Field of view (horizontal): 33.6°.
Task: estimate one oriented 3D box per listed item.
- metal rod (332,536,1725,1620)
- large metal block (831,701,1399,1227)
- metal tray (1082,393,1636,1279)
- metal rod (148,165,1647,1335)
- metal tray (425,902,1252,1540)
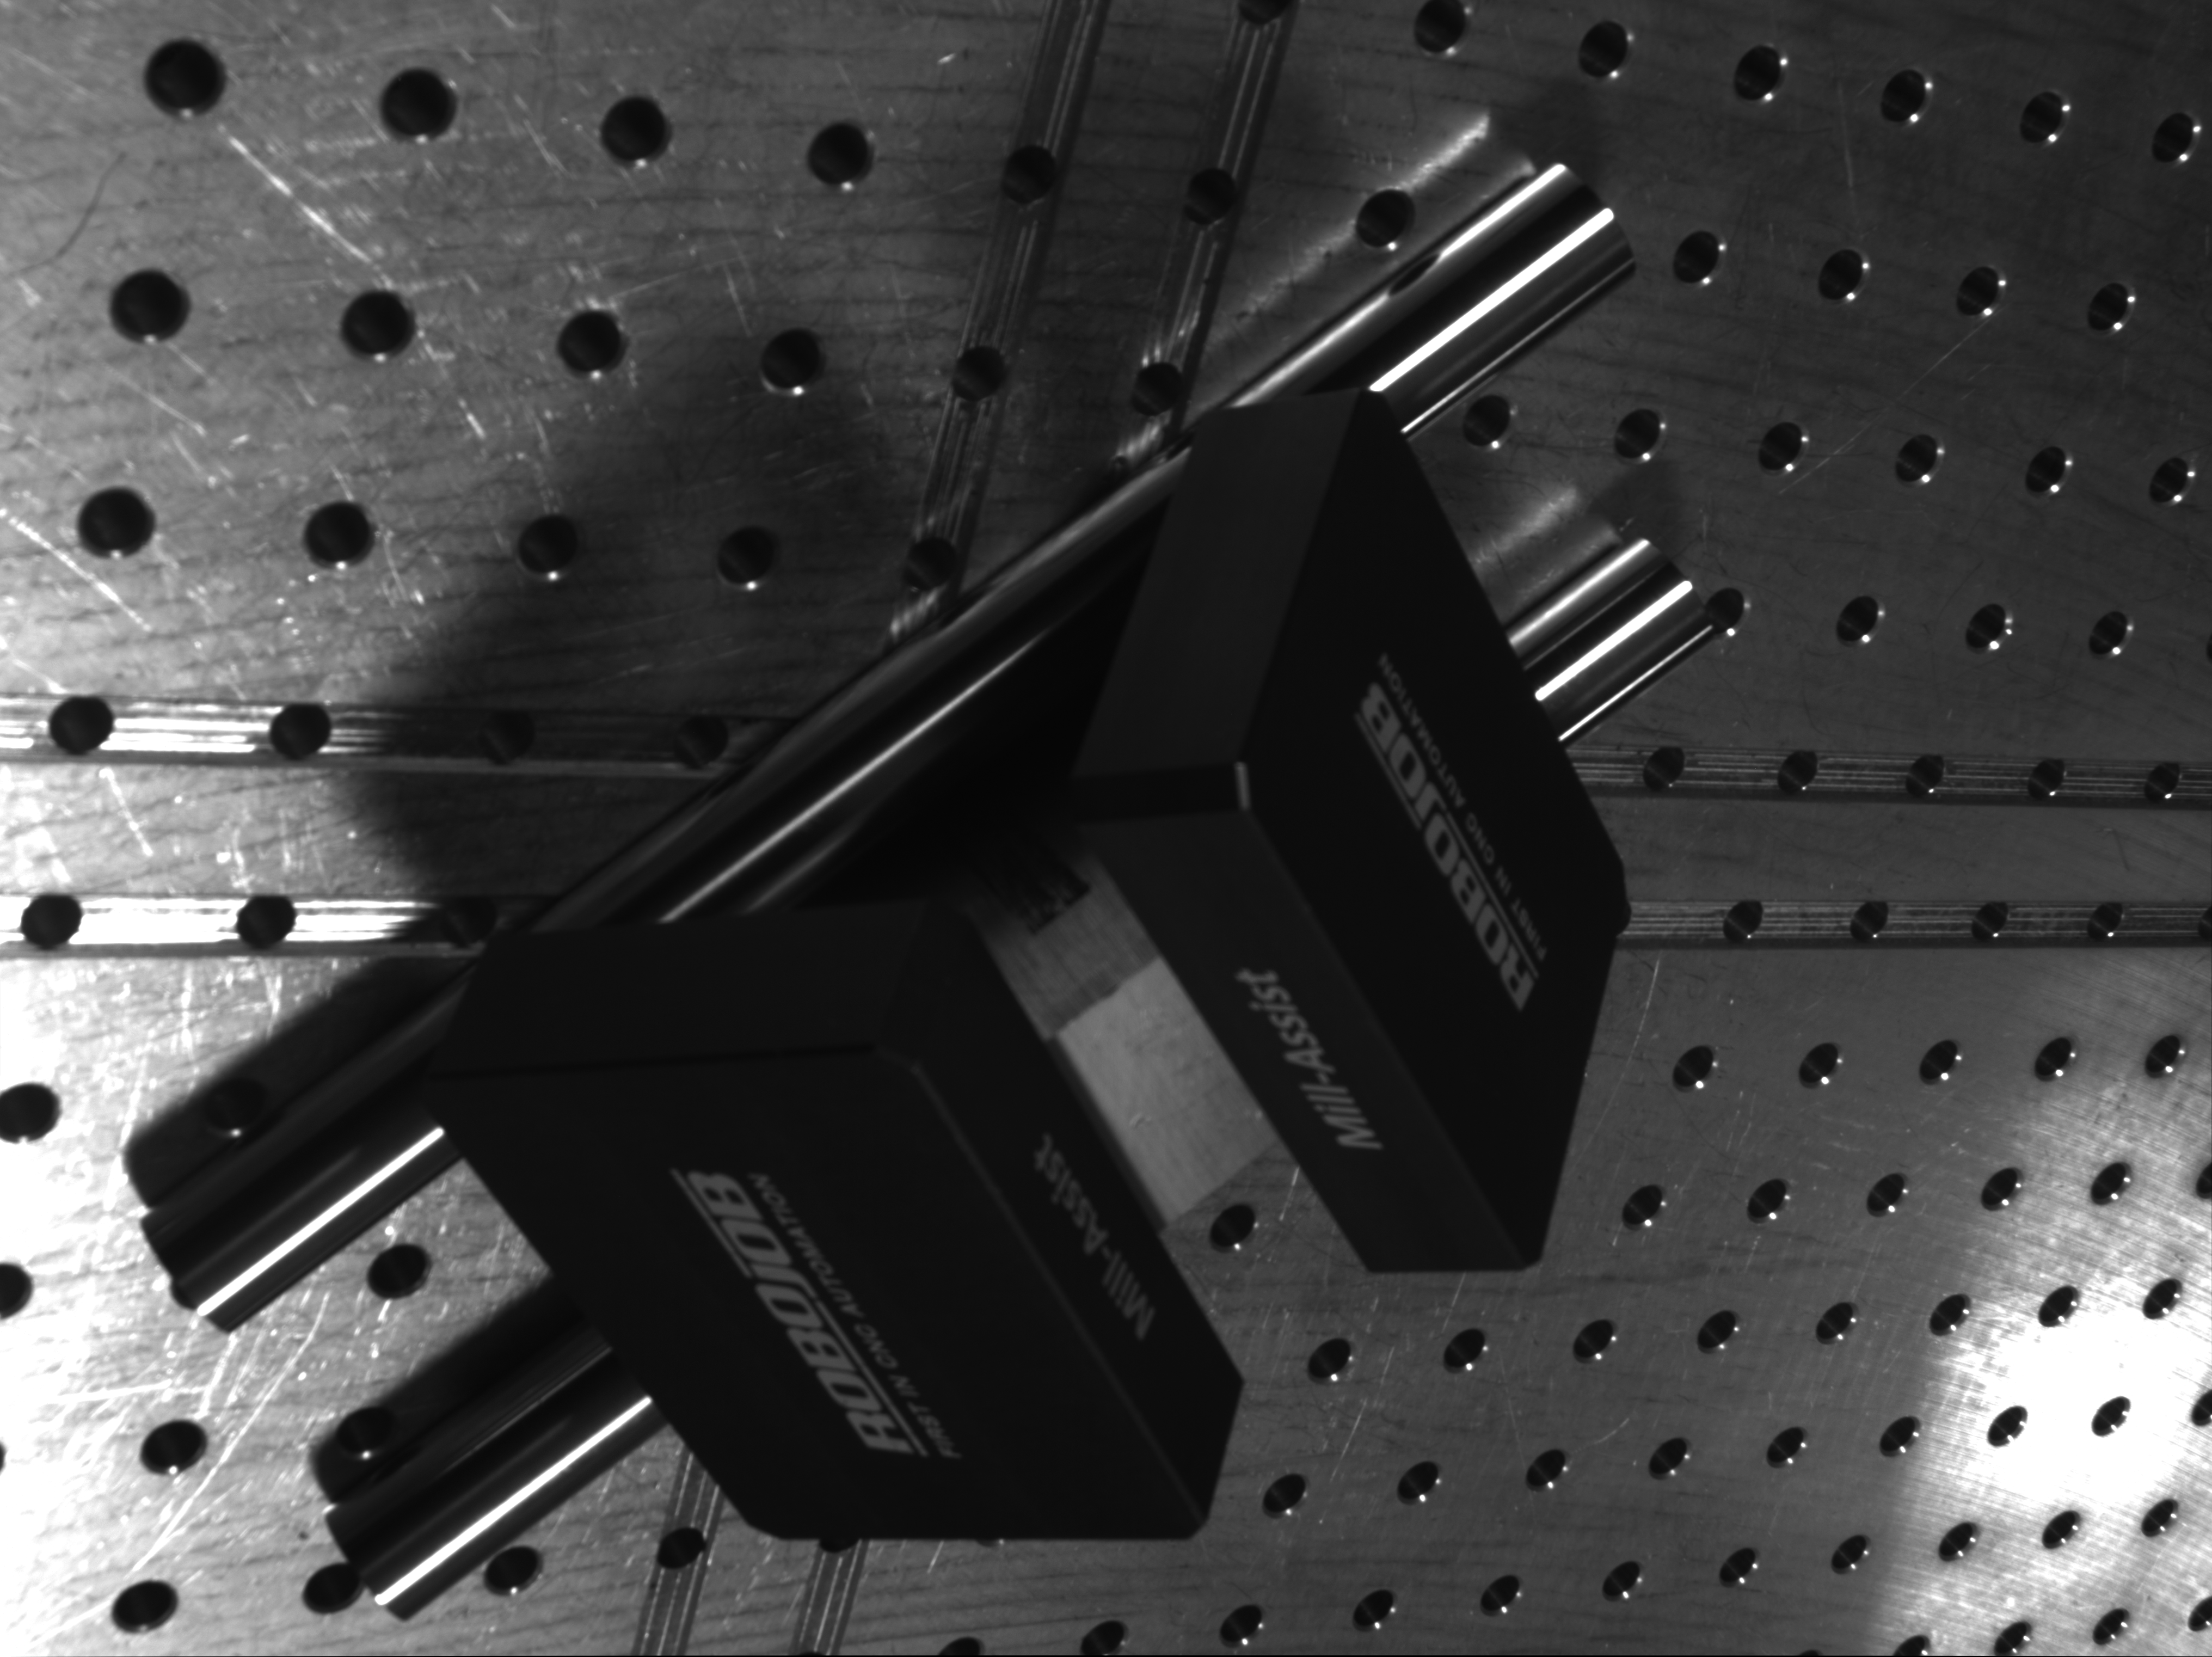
[{"bbox_3d":[-0.012,0.044,0.674,0.300,0.025,0.025,-36,130,-6],"label":"metal rod"},{"bbox_3d":[-0.003,0.022,0.629,0.080,0.080,0.050,-36,130,-6],"label":"large metal block"},{"bbox_3d":[0.047,0.004,0.612,0.130,0.030,0.090,57,40,-40],"label":"metal tray"},{"bbox_3d":[-0.033,-0.015,0.626,0.300,0.025,0.025,-37,130,-5],"label":"metal rod"},{"bbox_3d":[-0.041,0.069,0.602,0.090,0.030,0.130,-5,135,26],"label":"metal tray"}]
